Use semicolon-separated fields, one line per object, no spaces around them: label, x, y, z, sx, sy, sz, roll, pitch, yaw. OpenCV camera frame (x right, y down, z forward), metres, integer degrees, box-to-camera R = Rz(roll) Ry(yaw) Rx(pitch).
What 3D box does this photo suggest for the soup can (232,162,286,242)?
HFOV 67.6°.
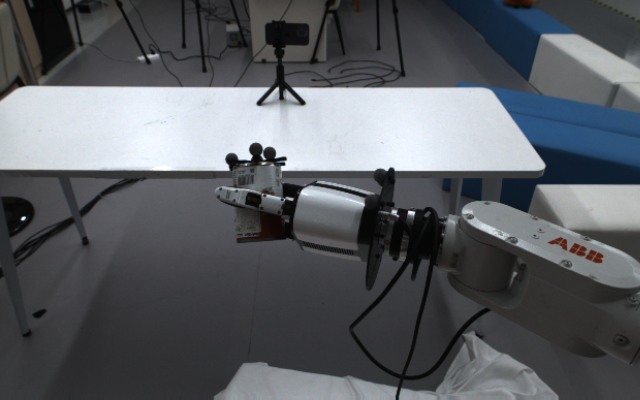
soup can;-0.080;0.006;0.649;0.067;0.101;0.067;-5;-5;0
